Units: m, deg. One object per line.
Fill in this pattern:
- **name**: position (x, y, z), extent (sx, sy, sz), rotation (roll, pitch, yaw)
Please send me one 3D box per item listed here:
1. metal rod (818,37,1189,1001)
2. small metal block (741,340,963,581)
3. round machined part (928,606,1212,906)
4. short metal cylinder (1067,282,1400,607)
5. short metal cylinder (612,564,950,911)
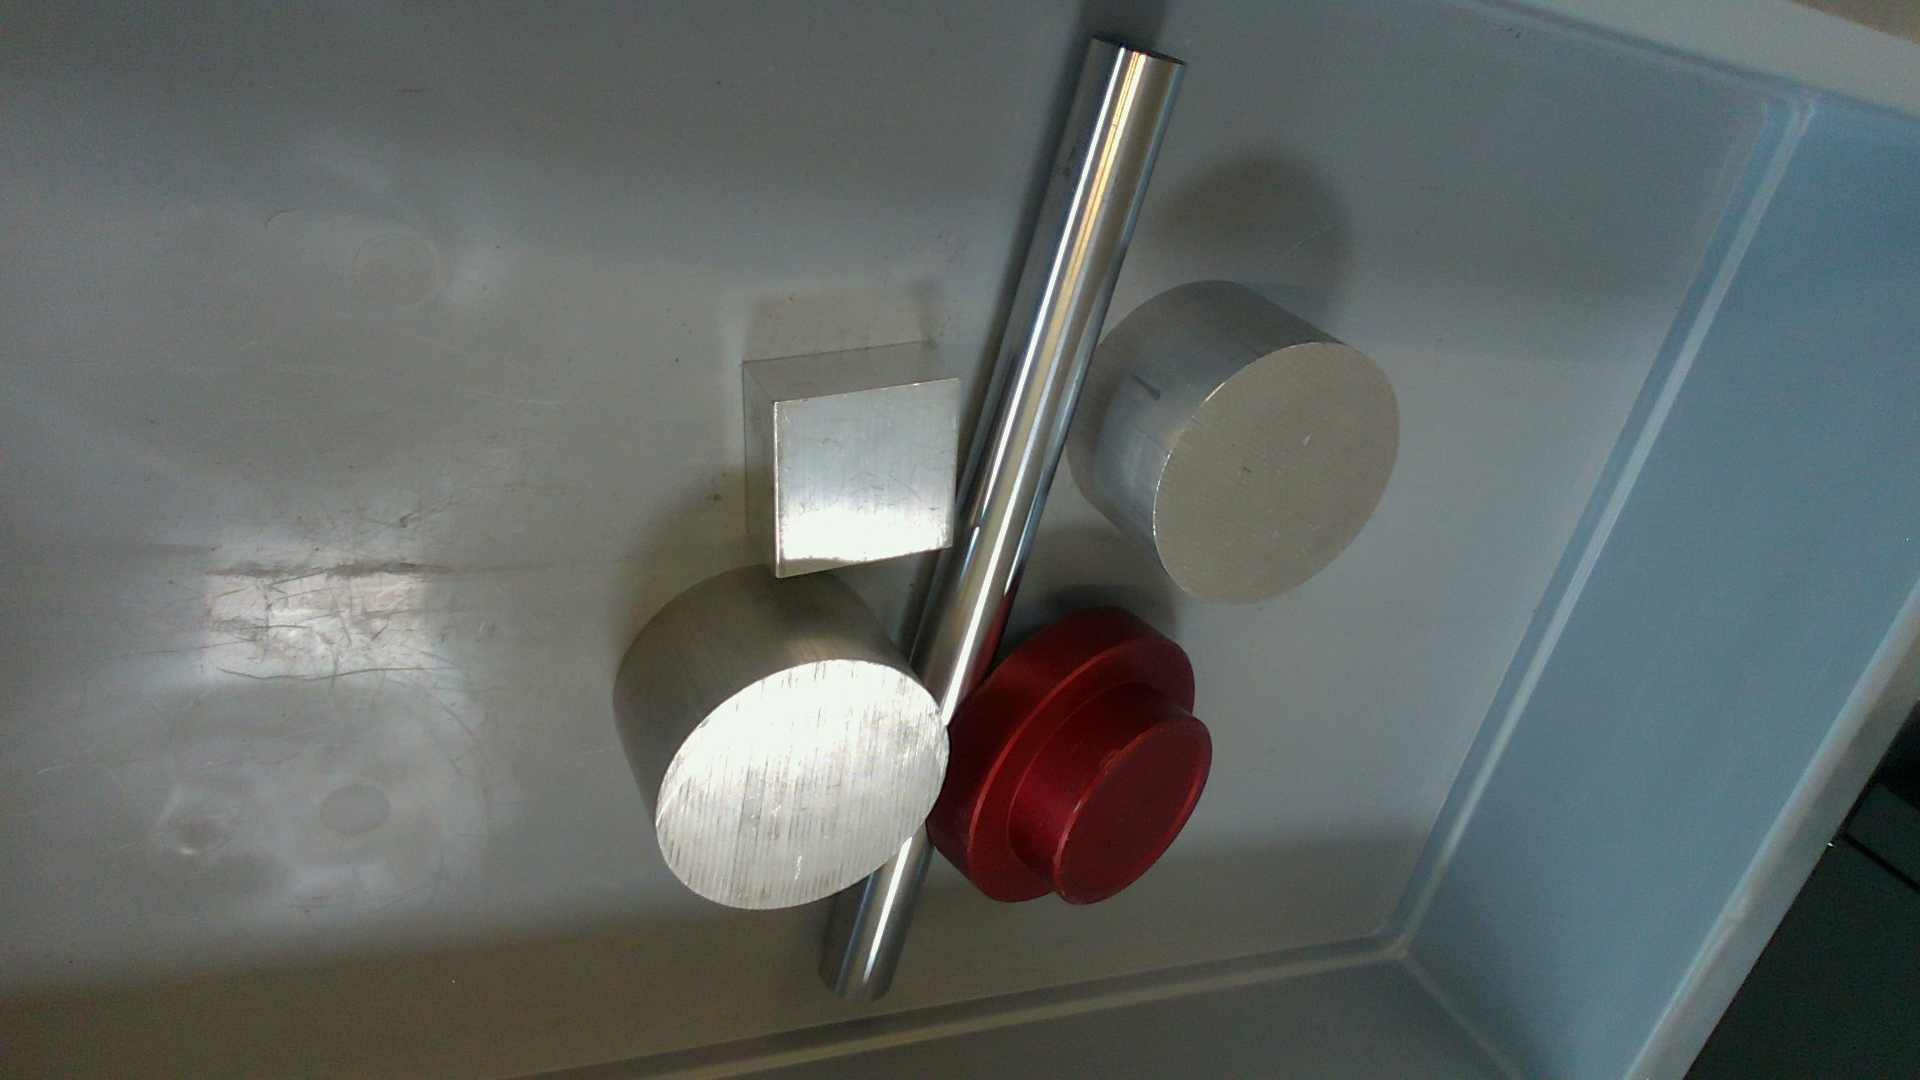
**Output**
- **metal rod**: position (0.005, 0.012, 0.397), extent (0.025, 0.025, 0.300), rotation (3, 117, -30)
- **small metal block**: position (-0.028, -0.021, 0.359), extent (0.050, 0.025, 0.050), rotation (-11, 123, -23)
- **round machined part**: position (0.040, 0.073, 0.427), extent (0.098, 0.042, 0.098), rotation (-27, 134, -31)
- **short metal cylinder**: position (0.078, -0.028, 0.396), extent (0.080, 0.050, 0.080), rotation (-14, 124, -21)
- **short metal cylinder**: position (-0.049, 0.053, 0.377), extent (0.080, 0.050, 0.080), rotation (-14, 124, -21)
